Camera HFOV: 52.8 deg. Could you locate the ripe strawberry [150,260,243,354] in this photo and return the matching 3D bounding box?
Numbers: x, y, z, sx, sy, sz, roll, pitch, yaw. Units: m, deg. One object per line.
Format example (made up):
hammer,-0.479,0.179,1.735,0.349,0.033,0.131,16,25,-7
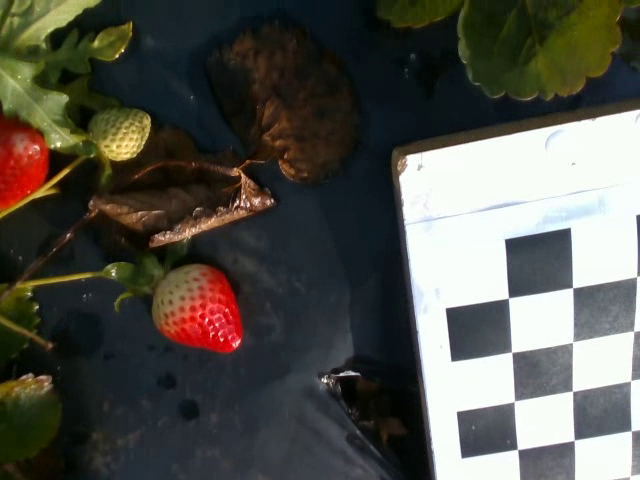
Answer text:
ripe strawberry,-0.046,0.029,0.247,0.043,0.035,0.030,41,12,-13
